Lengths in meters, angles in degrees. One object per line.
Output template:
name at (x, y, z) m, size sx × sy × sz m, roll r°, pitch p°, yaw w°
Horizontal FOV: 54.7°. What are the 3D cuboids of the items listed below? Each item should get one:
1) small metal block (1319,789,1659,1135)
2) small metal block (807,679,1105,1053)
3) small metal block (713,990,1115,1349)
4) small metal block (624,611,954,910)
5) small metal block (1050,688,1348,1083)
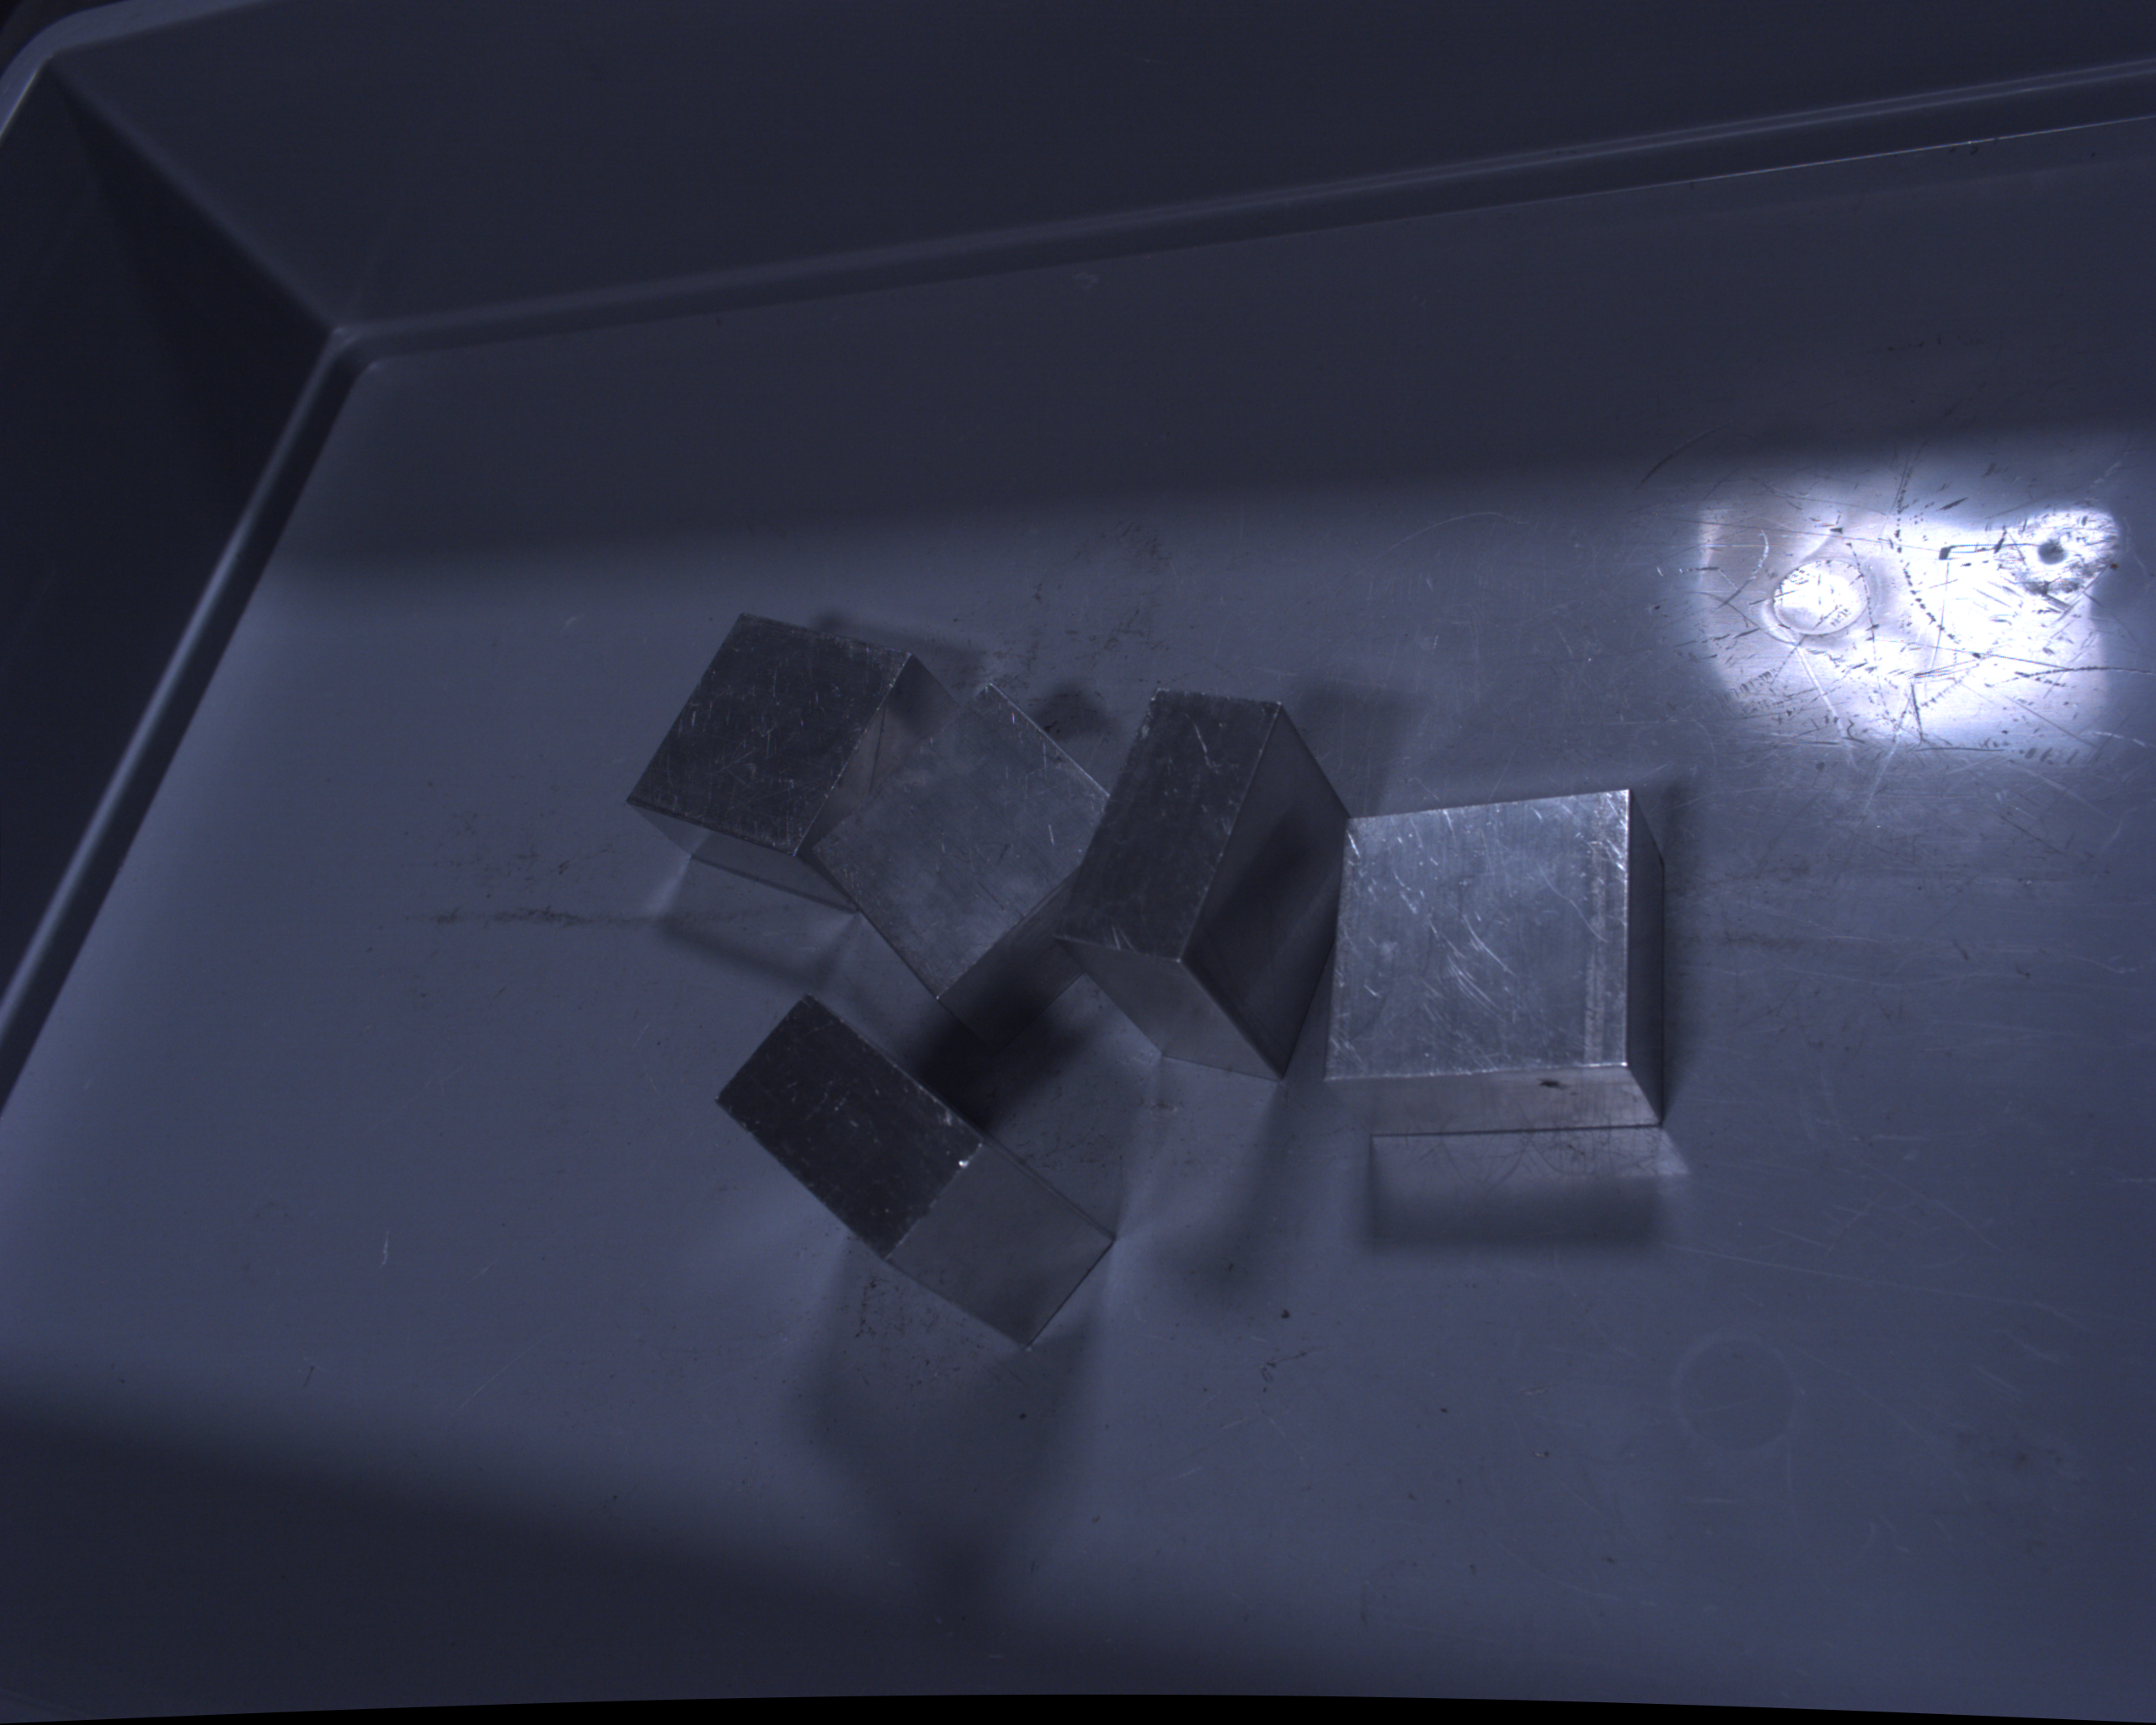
small metal block at (0.071, 0.018, 0.354) m, size 0.050 × 0.025 × 0.050 m, roll -5°, pitch 59°, yaw 25°
small metal block at (-0.017, 0.000, 0.410) m, size 0.050 × 0.025 × 0.050 m, roll -43°, pitch 51°, yaw -2°
small metal block at (-0.028, 0.054, 0.367) m, size 0.050 × 0.050 × 0.025 m, roll 35°, pitch 82°, yaw 37°
small metal block at (-0.060, -0.022, 0.446) m, size 0.050 × 0.025 × 0.050 m, roll 16°, pitch 70°, yaw 34°
small metal block at (0.025, 0.005, 0.370) m, size 0.025 × 0.050 × 0.050 m, roll 10°, pitch 67°, yaw 31°
